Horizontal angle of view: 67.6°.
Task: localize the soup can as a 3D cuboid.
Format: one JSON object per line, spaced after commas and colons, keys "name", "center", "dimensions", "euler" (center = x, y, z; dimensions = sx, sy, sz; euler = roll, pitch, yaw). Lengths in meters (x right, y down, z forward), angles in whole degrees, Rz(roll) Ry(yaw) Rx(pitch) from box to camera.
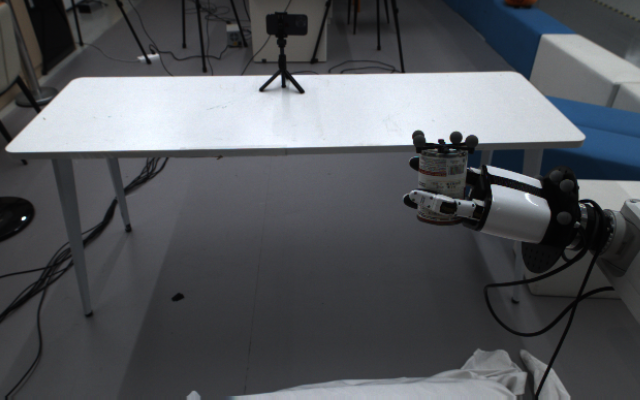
{"name": "soup can", "center": [0.175, -0.023, 0.690], "dimensions": [0.067, 0.101, 0.067], "euler": [-1, 17, 0]}
